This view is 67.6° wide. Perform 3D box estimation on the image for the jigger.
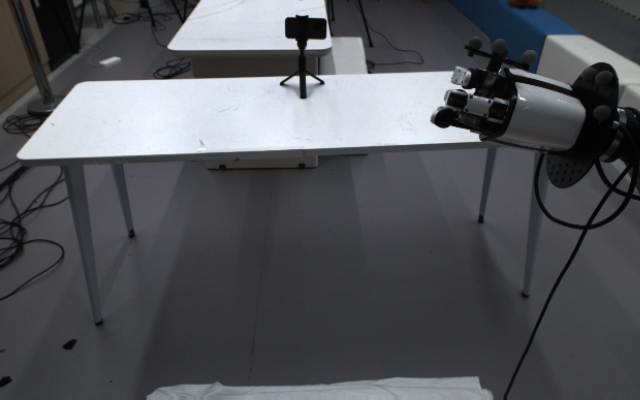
[{"bbox_3d":[0.203,-0.127,0.612,0.043,0.071,0.043,18,17,-6],"label":"jigger"}]
